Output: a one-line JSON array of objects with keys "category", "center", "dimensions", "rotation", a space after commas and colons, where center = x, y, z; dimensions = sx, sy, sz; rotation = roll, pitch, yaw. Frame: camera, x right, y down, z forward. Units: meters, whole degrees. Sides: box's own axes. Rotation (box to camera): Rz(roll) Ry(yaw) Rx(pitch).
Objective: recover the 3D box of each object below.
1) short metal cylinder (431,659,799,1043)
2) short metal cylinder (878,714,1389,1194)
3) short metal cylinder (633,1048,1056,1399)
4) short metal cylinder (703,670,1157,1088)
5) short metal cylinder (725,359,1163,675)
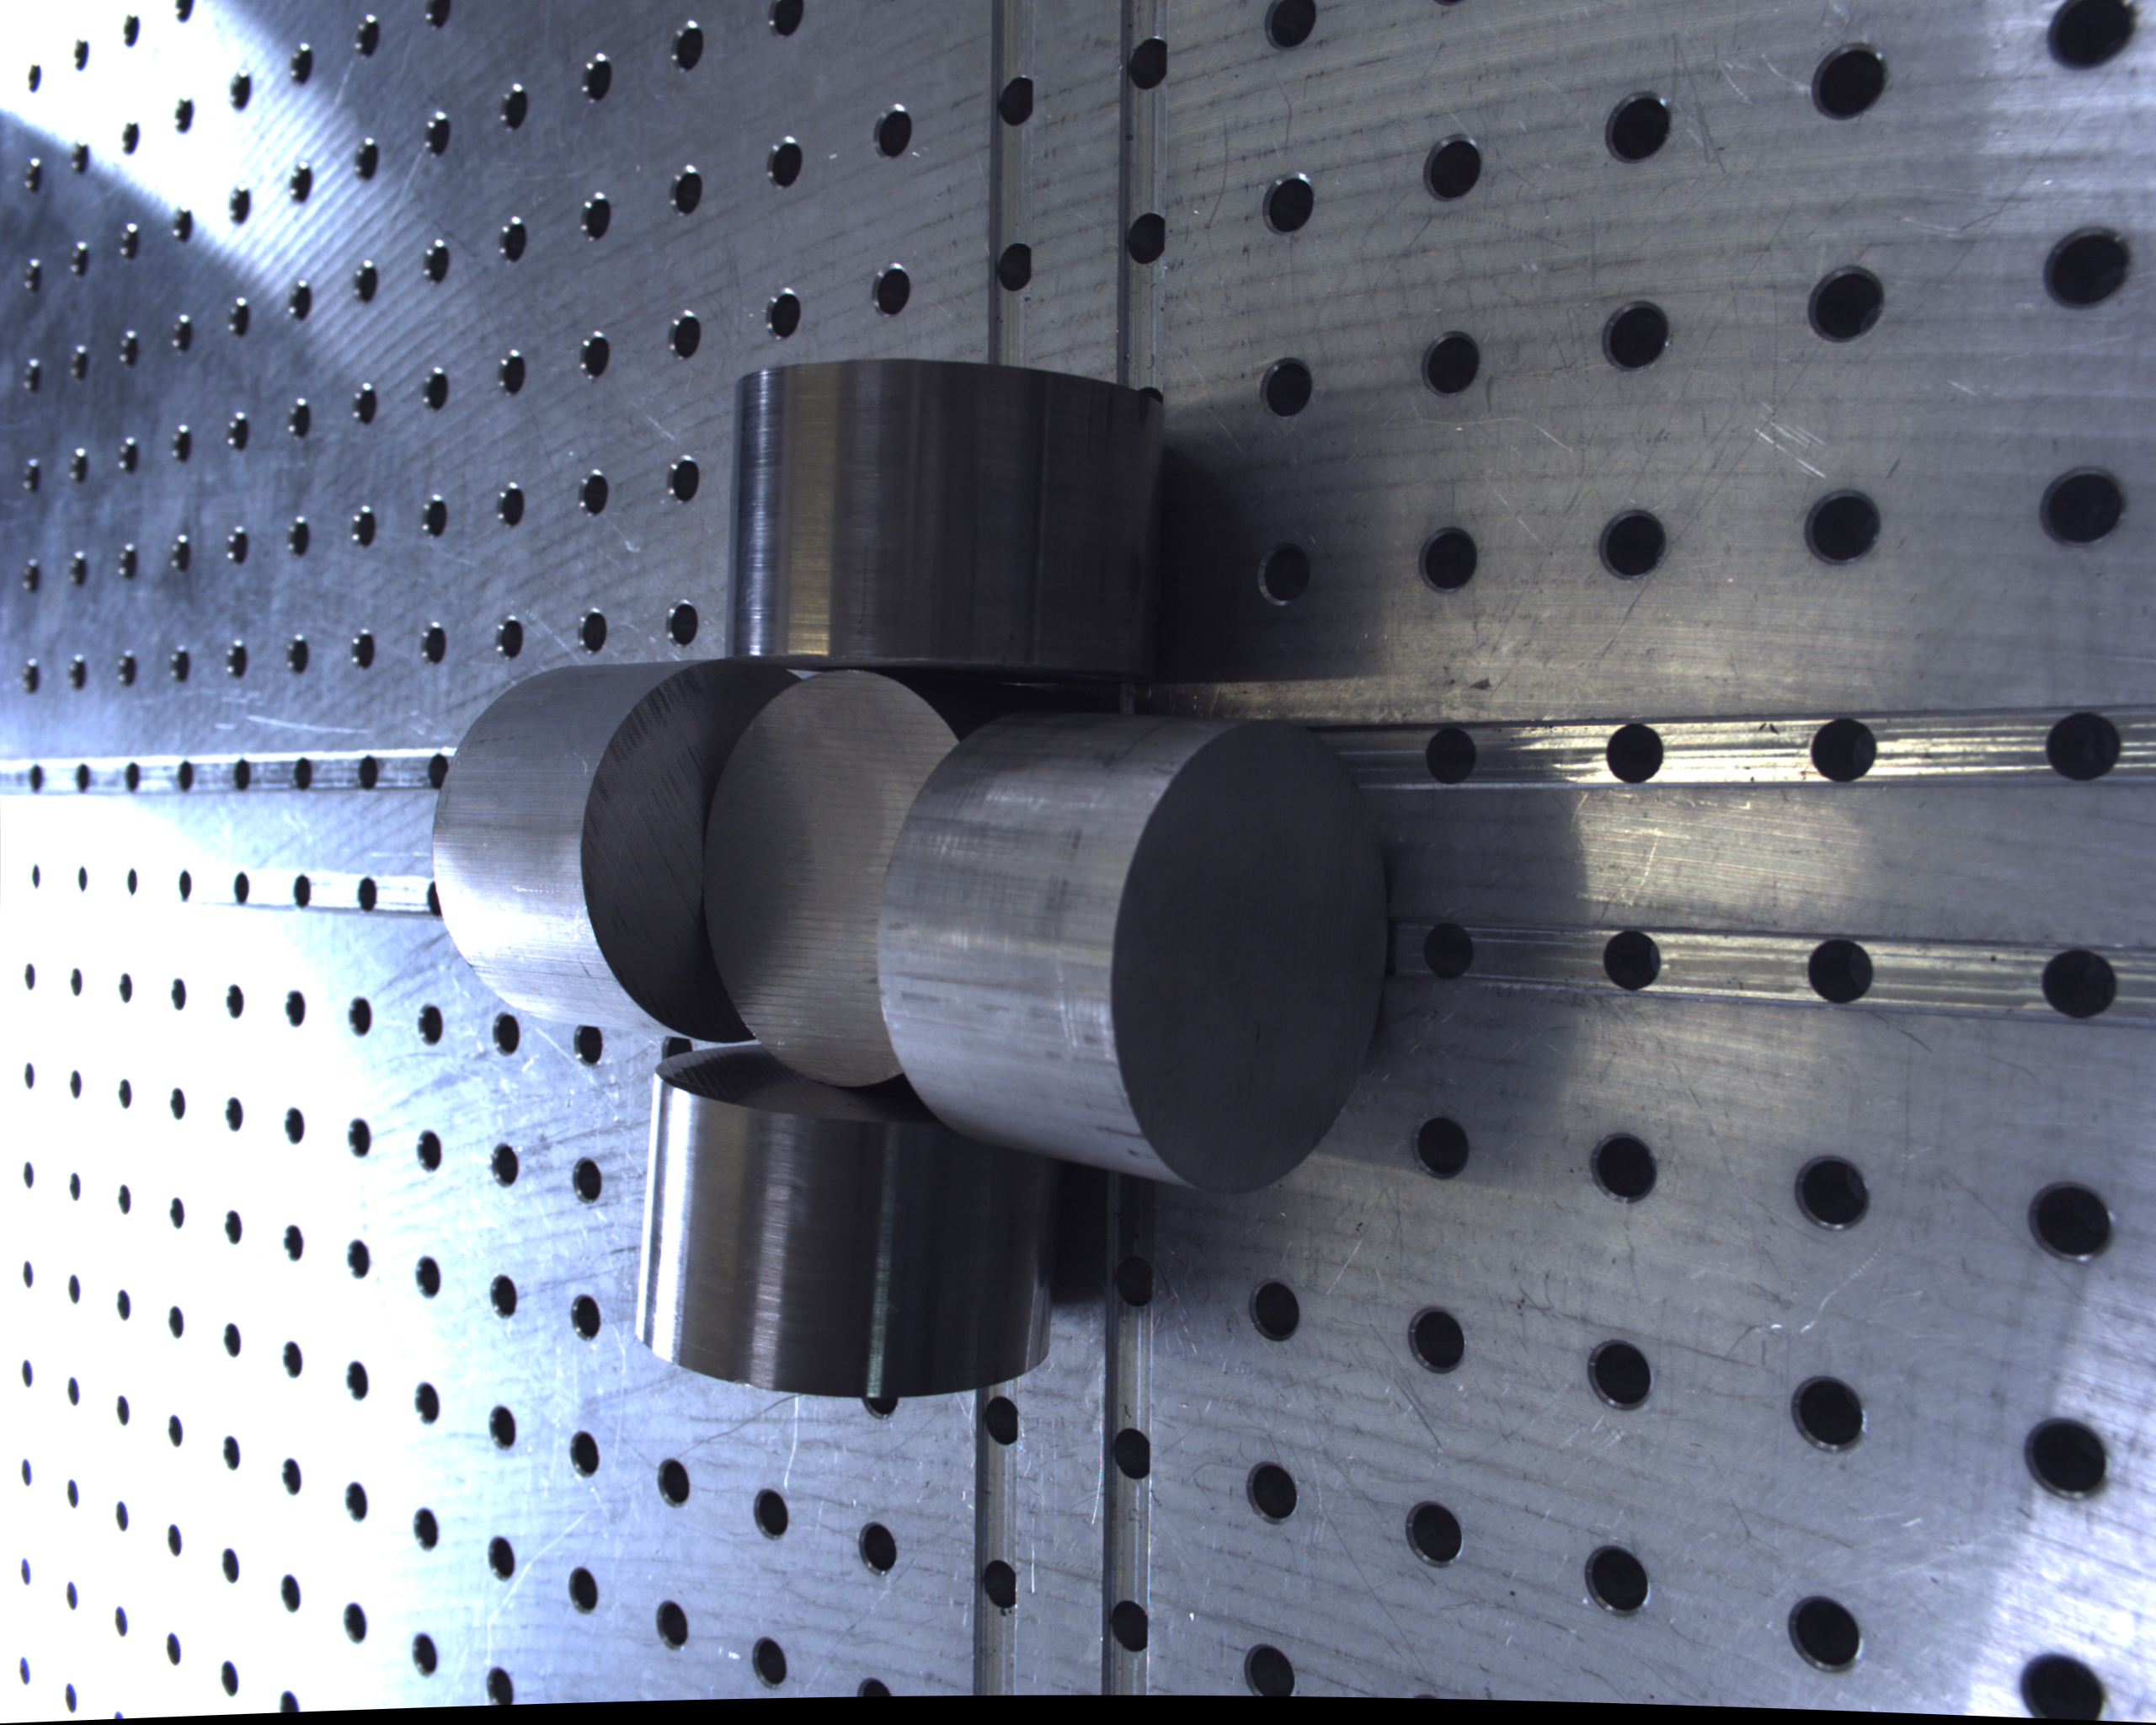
[{"category": "short metal cylinder", "center": [-0.089, -0.003, 0.447], "dimensions": [0.050, 0.081, 0.079], "rotation": [2, 92, 39]}, {"category": "short metal cylinder", "center": [0.012, 0.014, 0.364], "dimensions": [0.050, 0.081, 0.079], "rotation": [5, 93, 39]}, {"category": "short metal cylinder", "center": [-0.045, 0.068, 0.409], "dimensions": [0.080, 0.081, 0.050], "rotation": [8, 95, 39]}, {"category": "short metal cylinder", "center": [-0.029, 0.003, 0.418], "dimensions": [0.080, 0.050, 0.080], "rotation": [0, 90, 38]}, {"category": "short metal cylinder", "center": [-0.025, -0.062, 0.394], "dimensions": [0.080, 0.081, 0.050], "rotation": [4, 92, 40]}]
